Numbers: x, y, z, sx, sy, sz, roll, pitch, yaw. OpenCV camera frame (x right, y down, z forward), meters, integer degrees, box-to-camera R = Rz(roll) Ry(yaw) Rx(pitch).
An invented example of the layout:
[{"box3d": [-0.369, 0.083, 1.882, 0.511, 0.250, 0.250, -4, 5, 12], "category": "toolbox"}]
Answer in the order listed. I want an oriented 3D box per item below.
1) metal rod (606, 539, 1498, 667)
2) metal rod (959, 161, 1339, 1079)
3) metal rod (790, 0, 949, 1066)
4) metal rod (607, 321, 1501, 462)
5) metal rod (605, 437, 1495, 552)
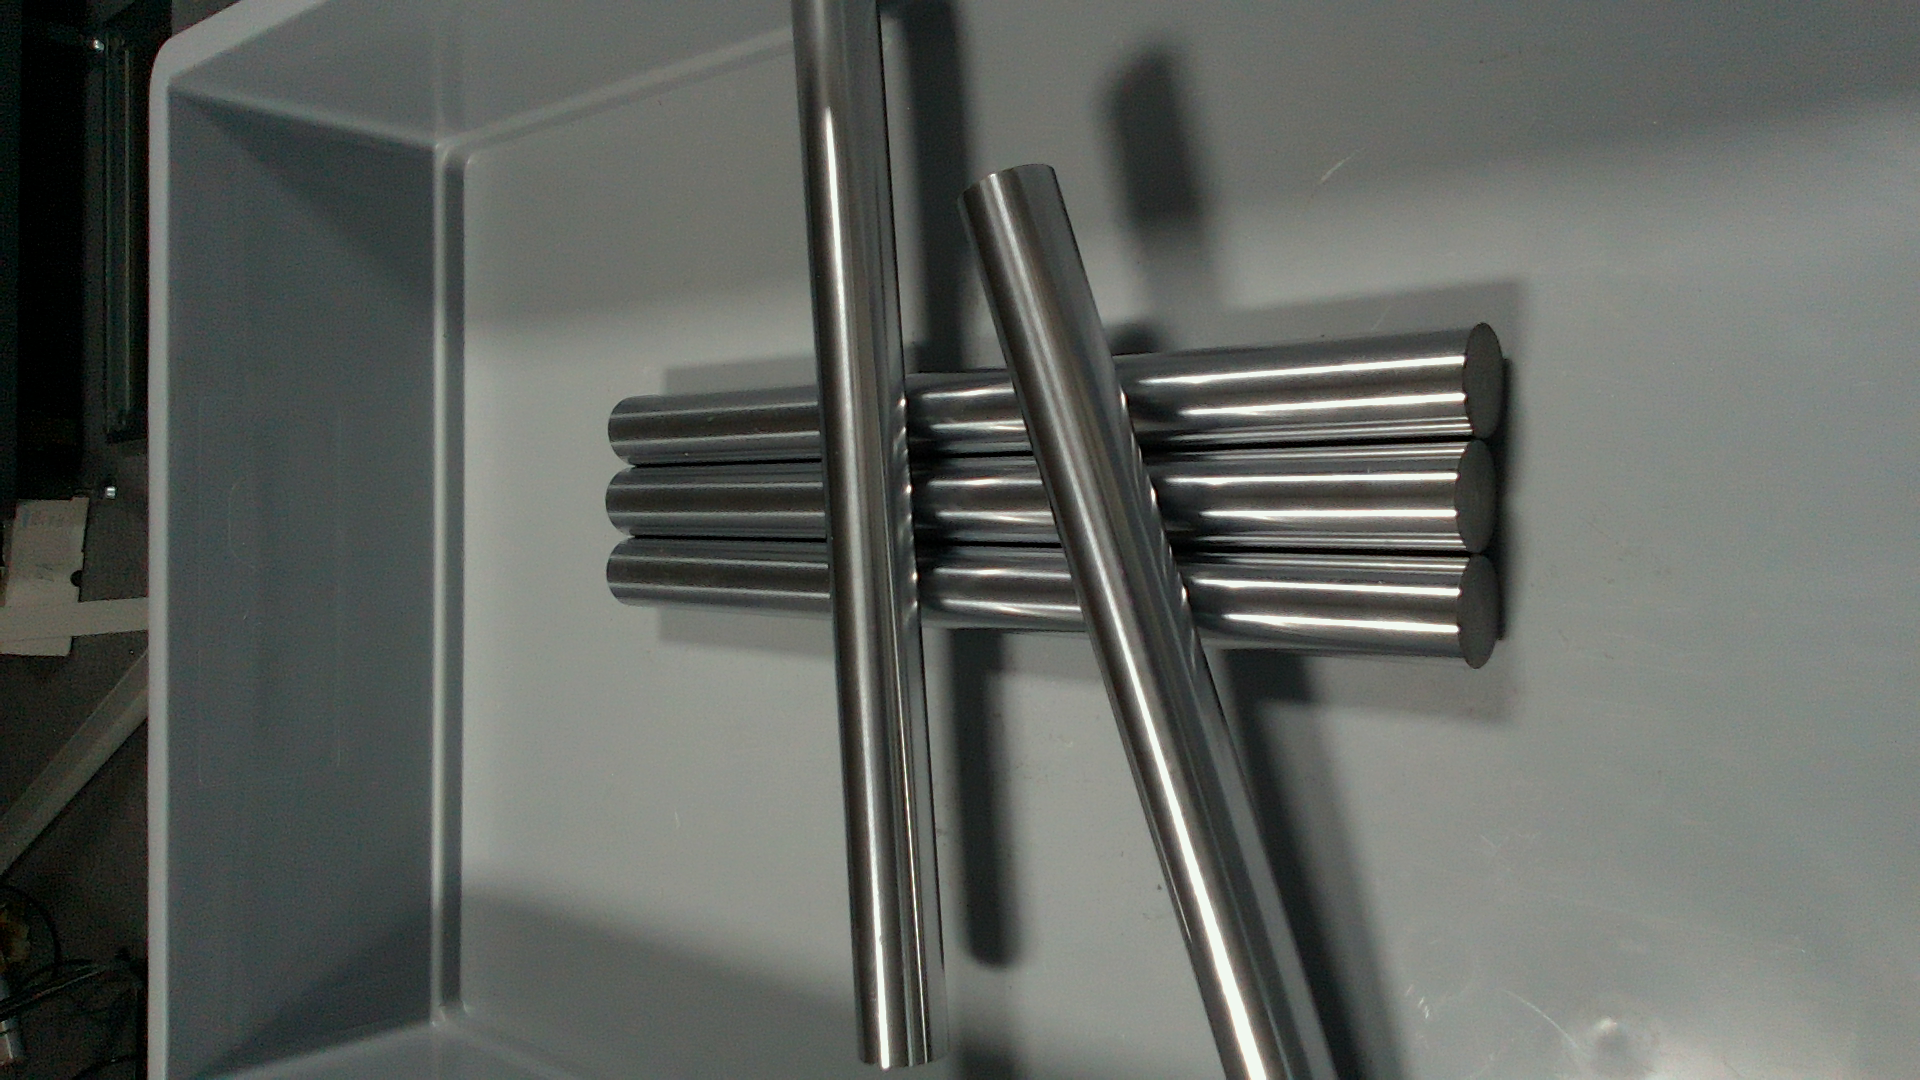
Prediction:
[{"box3d": [-0.002, 0.013, 0.395, 0.299, 0.025, 0.025, 1, 91, 40], "category": "metal rod"}, {"box3d": [0.054, 0.057, 0.322, 0.025, 0.025, 0.300, -20, 84, 38], "category": "metal rod"}, {"box3d": [-0.026, -0.011, 0.382, 0.025, 0.025, 0.300, -7, 86, 40], "category": "metal rod"}, {"box3d": [-0.001, -0.037, 0.395, 0.299, 0.025, 0.025, 1, 91, 40], "category": "metal rod"}, {"box3d": [-0.002, -0.012, 0.396, 0.299, 0.025, 0.025, 1, 91, 40], "category": "metal rod"}]
